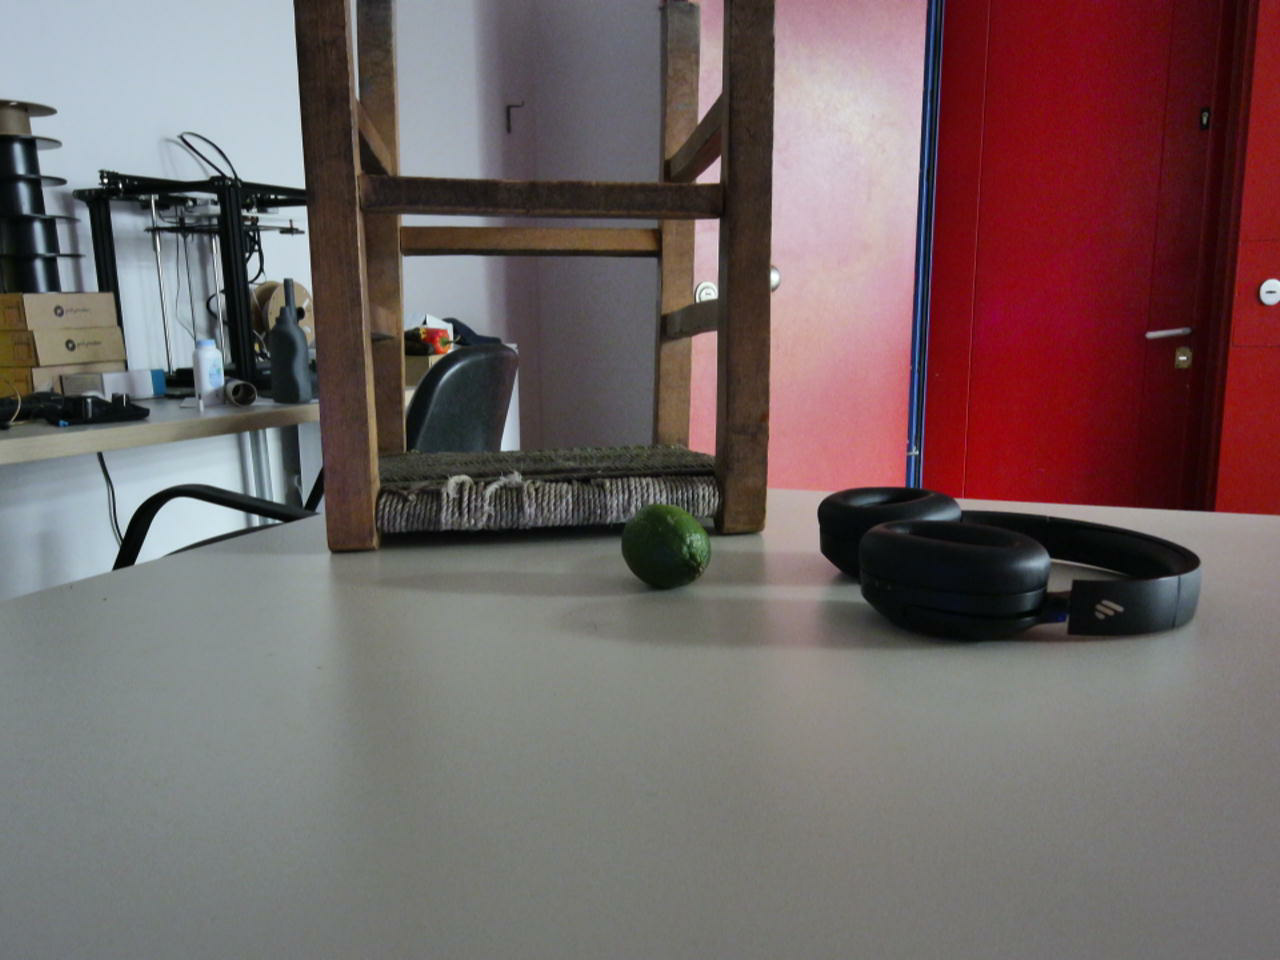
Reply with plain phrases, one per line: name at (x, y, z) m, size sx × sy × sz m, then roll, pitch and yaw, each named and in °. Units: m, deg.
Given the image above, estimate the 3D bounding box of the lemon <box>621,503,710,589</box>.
lemon at (0.016, 0.040, 0.618) m, size 0.057 × 0.051 × 0.054 m, roll 3°, pitch 8°, yaw 19°
